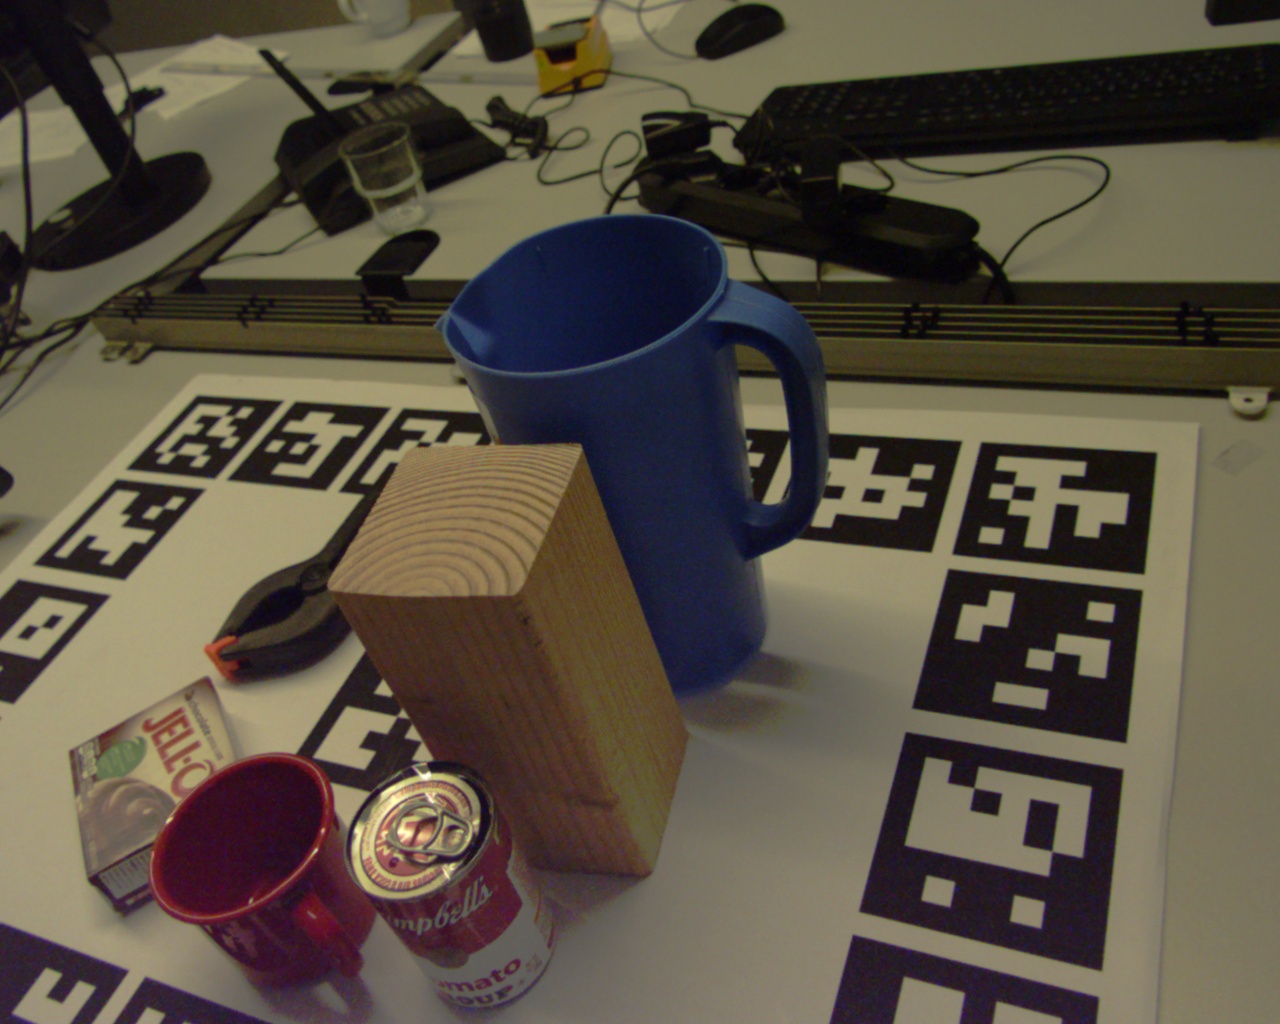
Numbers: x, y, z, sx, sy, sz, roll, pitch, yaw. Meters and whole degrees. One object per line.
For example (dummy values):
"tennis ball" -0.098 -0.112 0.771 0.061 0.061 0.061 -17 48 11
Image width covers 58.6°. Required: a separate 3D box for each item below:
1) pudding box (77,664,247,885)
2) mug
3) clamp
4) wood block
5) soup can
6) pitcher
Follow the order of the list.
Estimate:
"pudding box" -0.285 0.157 0.694 0.089 0.038 0.115 -33 41 -11
"mug" -0.180 0.184 0.586 0.093 0.081 0.119 -30 40 -16
"clamp" -0.207 0.052 0.789 0.164 0.036 0.123 -37 51 -19
"wood block" -0.056 0.072 0.565 0.091 0.205 0.091 5 45 21
"soup can" -0.091 0.170 0.550 0.068 0.101 0.068 -11 43 10
"pitcher" 0.006 -0.021 0.621 0.191 0.240 0.133 3 42 27
